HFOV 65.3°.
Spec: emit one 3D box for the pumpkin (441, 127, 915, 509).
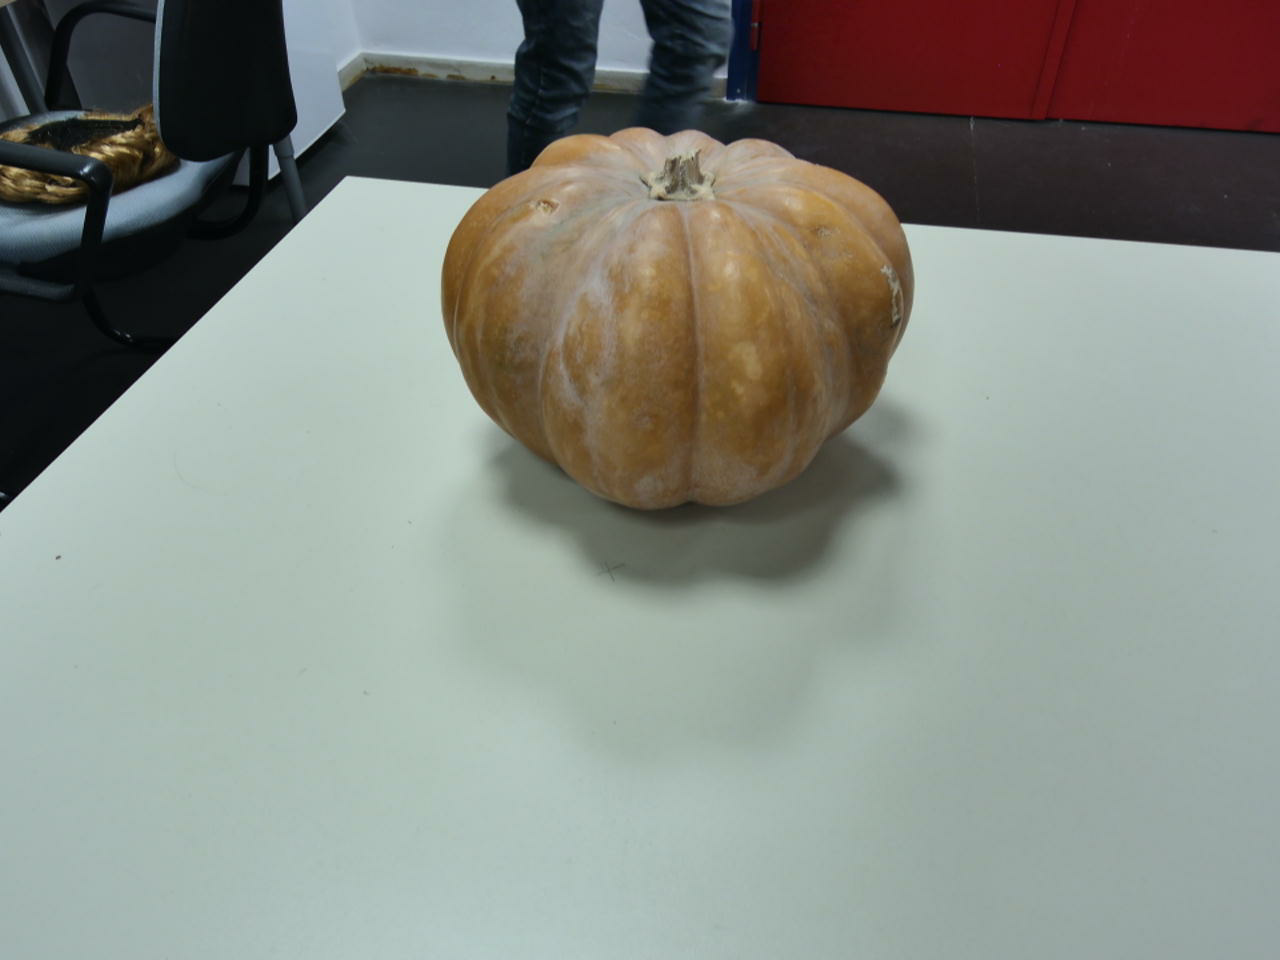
[{"bbox_3d":[0.019,-0.101,0.584,0.277,0.181,0.277,0,39,0],"label":"pumpkin"}]
